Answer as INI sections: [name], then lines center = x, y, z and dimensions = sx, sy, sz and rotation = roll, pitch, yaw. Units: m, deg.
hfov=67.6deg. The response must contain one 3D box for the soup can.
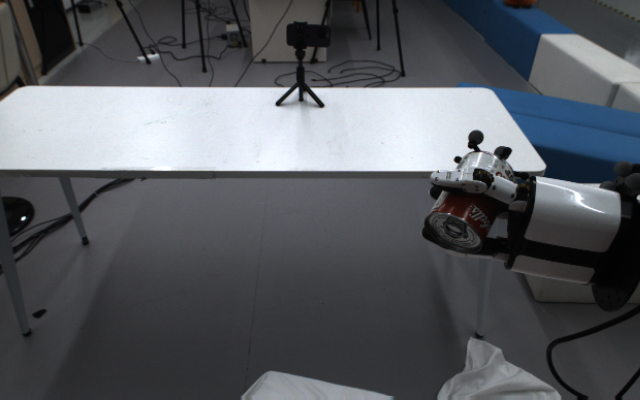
[soup can]
center = 0.175, 0.001, 0.552
dimensions = 0.067, 0.067, 0.101
rotation = 21, 60, 26
